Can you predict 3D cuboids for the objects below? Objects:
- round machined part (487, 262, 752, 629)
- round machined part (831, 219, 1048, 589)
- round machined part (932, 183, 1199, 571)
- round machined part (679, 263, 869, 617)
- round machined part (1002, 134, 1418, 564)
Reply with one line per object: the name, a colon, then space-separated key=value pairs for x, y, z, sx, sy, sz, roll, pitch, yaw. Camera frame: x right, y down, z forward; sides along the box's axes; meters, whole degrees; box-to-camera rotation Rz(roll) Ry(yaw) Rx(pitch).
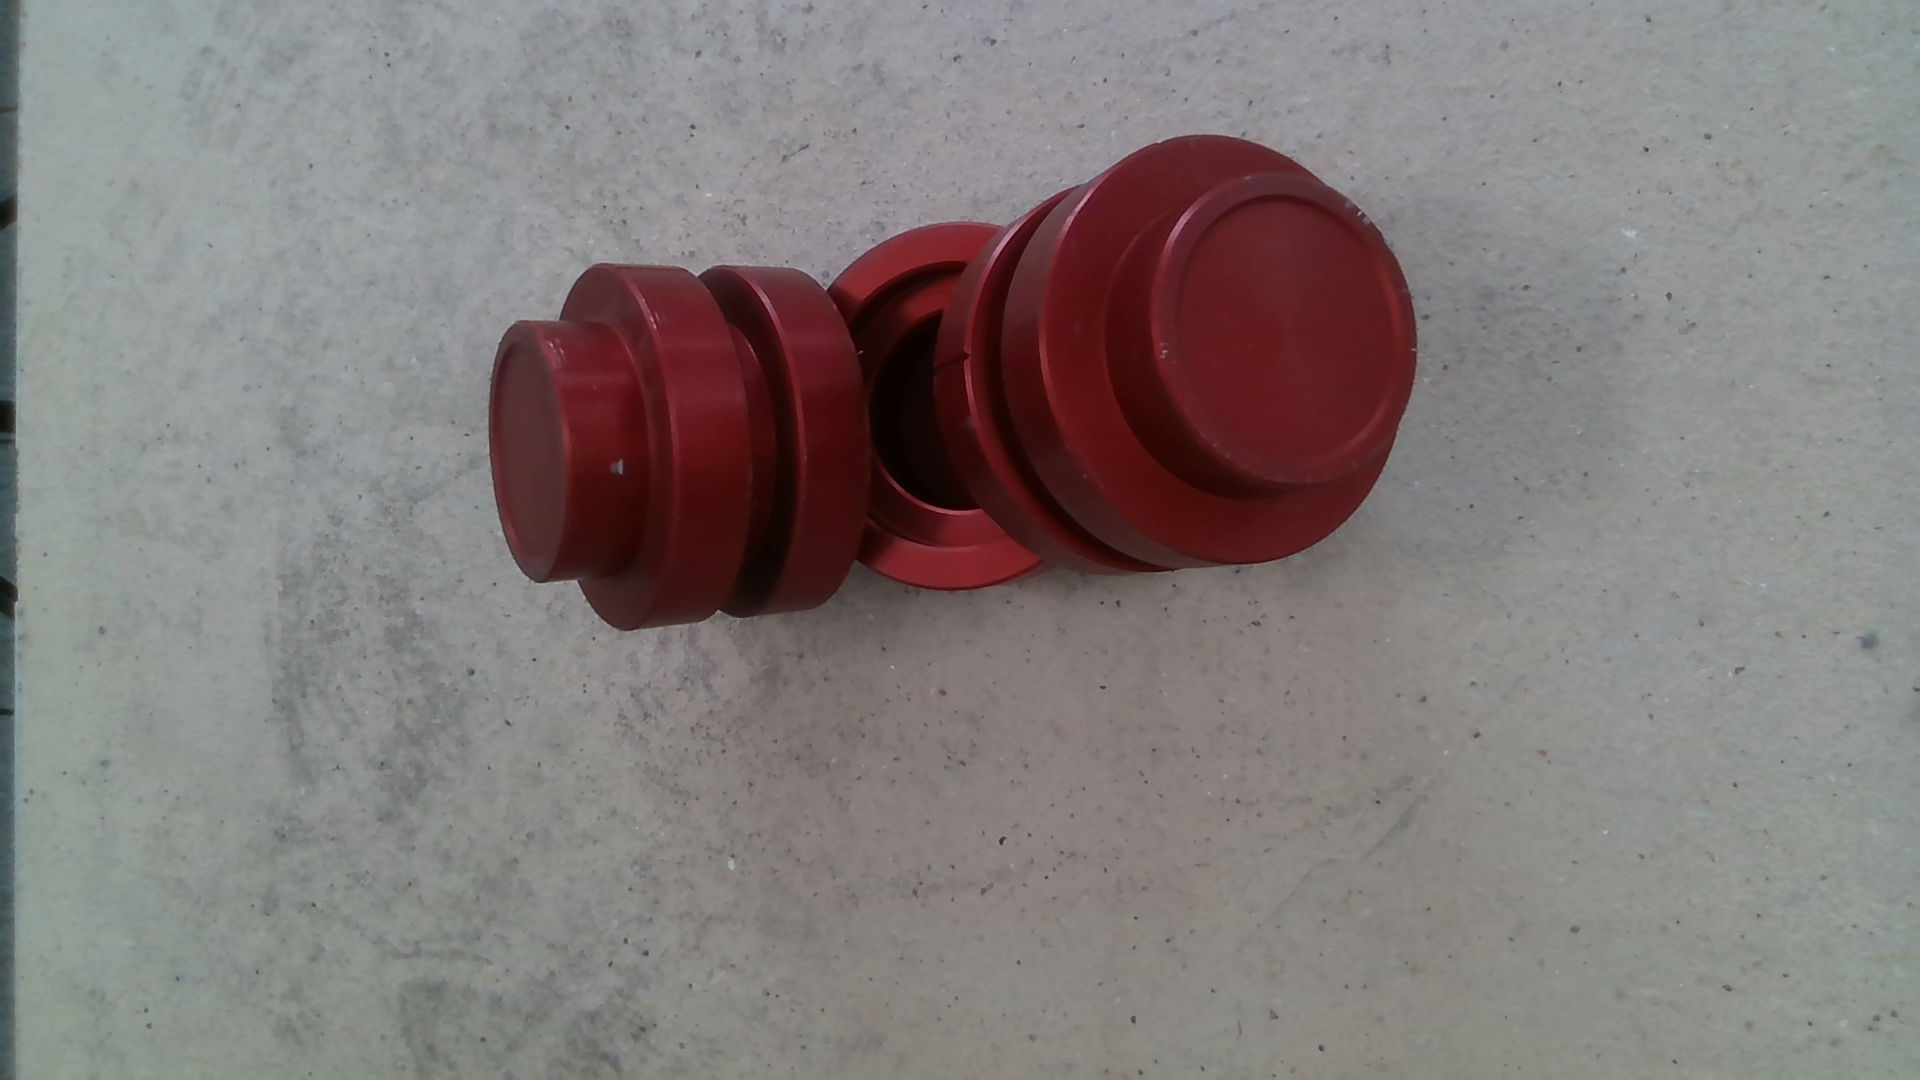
round machined part: x=-0.096 y=-0.025 z=0.369 sx=0.098 sy=0.042 sz=0.098 roll=11 pitch=104 yaw=55
round machined part: x=0.004 y=-0.036 z=0.384 sx=0.098 sy=0.042 sz=0.098 roll=0 pitch=90 yaw=20
round machined part: x=0.046 y=-0.041 z=0.339 sx=0.098 sy=0.042 sz=0.098 roll=2 pitch=86 yaw=-23
round machined part: x=-0.067 y=-0.027 z=0.383 sx=0.098 sy=0.042 sz=0.098 roll=11 pitch=103 yaw=56
round machined part: x=0.062 y=-0.044 z=0.311 sx=0.098 sy=0.042 sz=0.098 roll=2 pitch=85 yaw=-23
